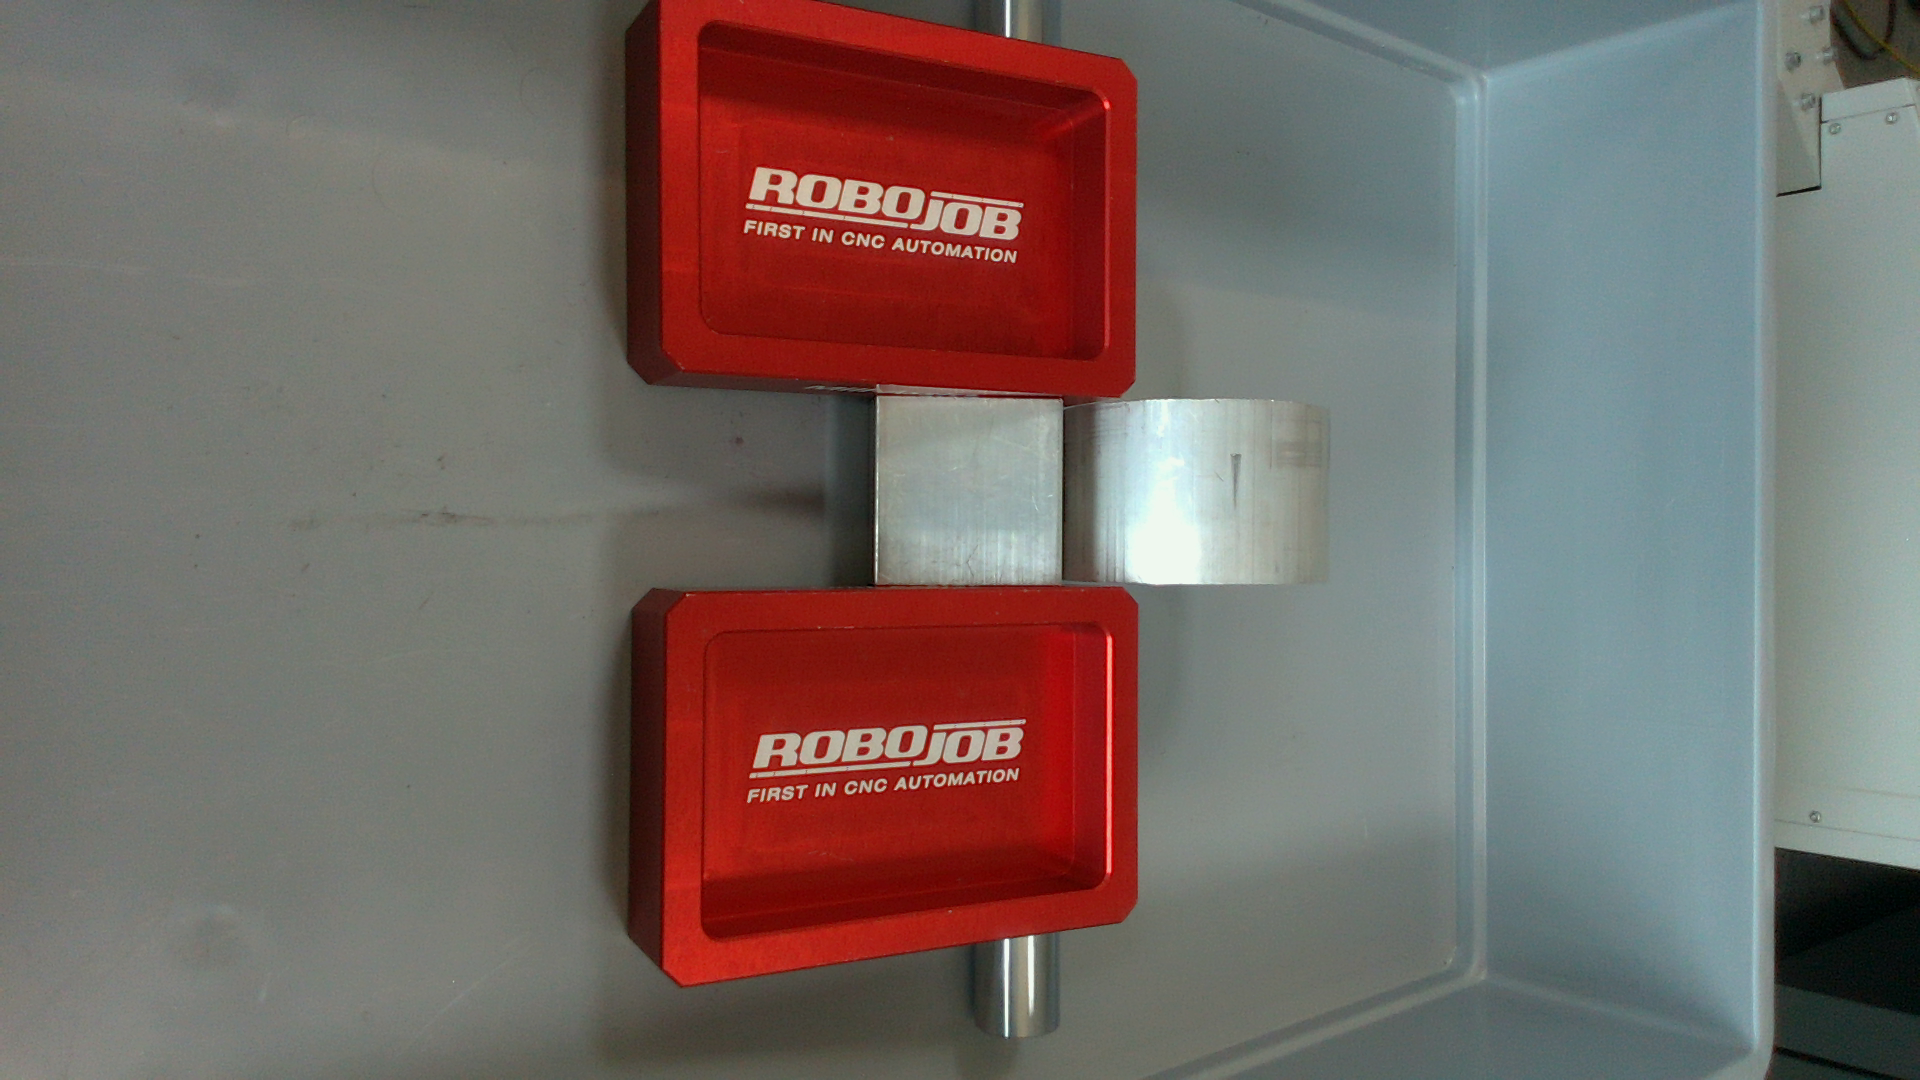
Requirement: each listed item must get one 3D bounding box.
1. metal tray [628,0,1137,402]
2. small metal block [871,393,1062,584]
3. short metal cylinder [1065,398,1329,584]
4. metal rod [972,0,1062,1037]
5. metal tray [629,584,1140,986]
[{"bbox_3d":[-0.017,-0.083,0.352,0.130,0.030,0.090,0,90,-27],"label":"metal tray"},{"bbox_3d":[0.000,-0.013,0.374,0.050,0.025,0.050,1,90,-9],"label":"small metal block"},{"bbox_3d":[0.069,-0.013,0.409,0.080,0.080,0.050,0,90,-40],"label":"short metal cylinder"},{"bbox_3d":[0.017,-0.010,0.400,0.025,0.025,0.300,0,90,-40],"label":"metal rod"},{"bbox_3d":[-0.016,0.057,0.353,0.130,0.030,0.090,1,90,-27],"label":"metal tray"}]
